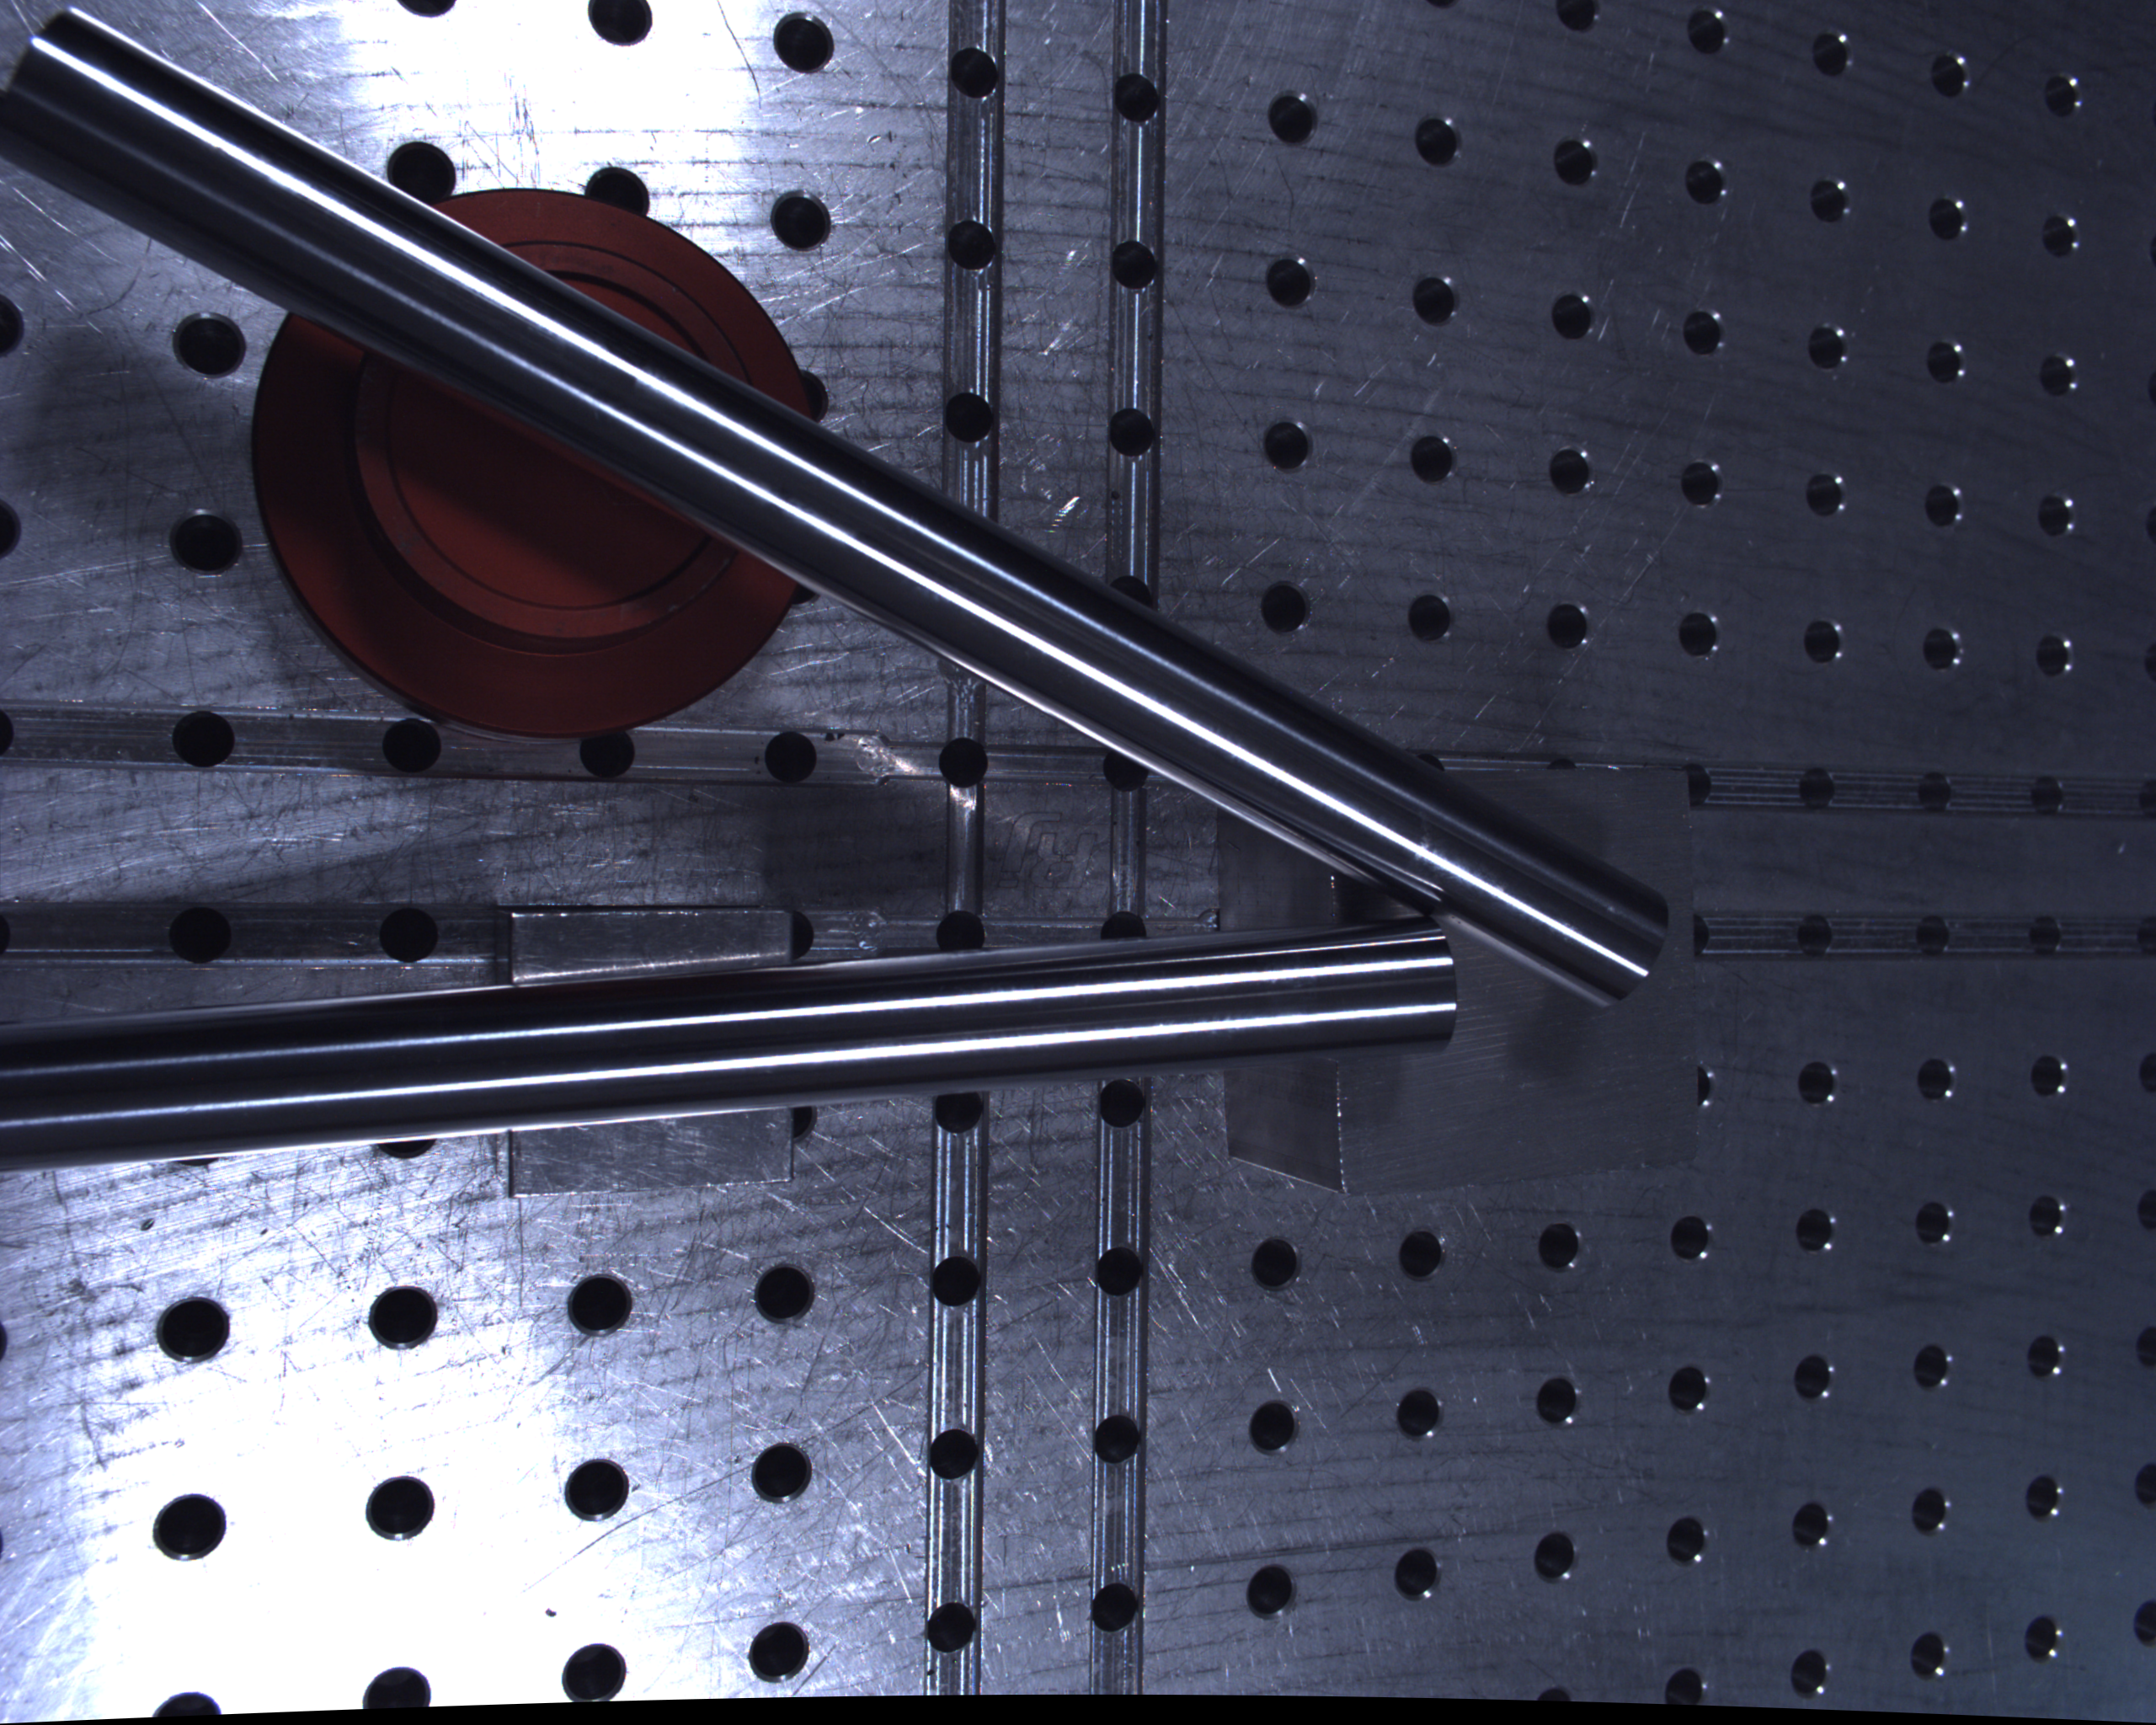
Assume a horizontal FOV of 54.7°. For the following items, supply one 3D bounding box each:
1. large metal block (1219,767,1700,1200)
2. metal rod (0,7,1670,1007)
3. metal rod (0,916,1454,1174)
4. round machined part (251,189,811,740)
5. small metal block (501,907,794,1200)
[{"bbox_3d":[0.077,0.022,0.426,0.081,0.050,0.079,-2,91,-20],"label":"large metal block"},{"bbox_3d":[-0.026,-0.050,0.352,0.301,0.025,0.025,27,81,-16],"label":"metal rod"},{"bbox_3d":[-0.085,0.032,0.353,0.302,0.025,0.025,-4,92,-10],"label":"metal rod"},{"bbox_3d":[-0.093,-0.071,0.369,0.099,0.042,0.097,0,90,-21],"label":"round machined part"},{"bbox_3d":[-0.080,0.034,0.384,0.050,0.025,0.050,0,90,-21],"label":"small metal block"}]
